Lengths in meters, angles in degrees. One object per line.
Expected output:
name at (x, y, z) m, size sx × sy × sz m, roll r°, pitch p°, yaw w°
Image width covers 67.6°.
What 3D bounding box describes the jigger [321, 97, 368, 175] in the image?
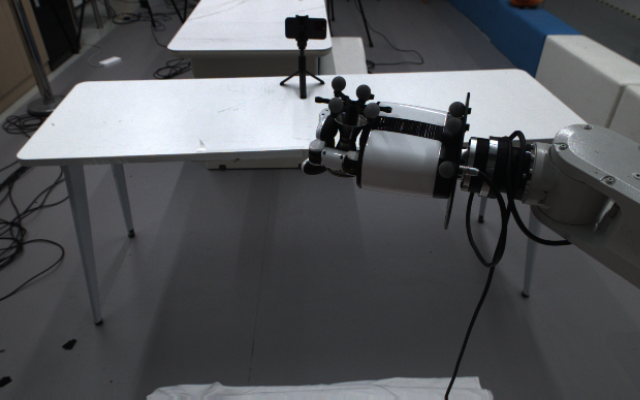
jigger at (0.031, -0.068, 0.589) m, size 0.043 × 0.071 × 0.043 m, roll 6°, pitch 32°, yaw -4°
